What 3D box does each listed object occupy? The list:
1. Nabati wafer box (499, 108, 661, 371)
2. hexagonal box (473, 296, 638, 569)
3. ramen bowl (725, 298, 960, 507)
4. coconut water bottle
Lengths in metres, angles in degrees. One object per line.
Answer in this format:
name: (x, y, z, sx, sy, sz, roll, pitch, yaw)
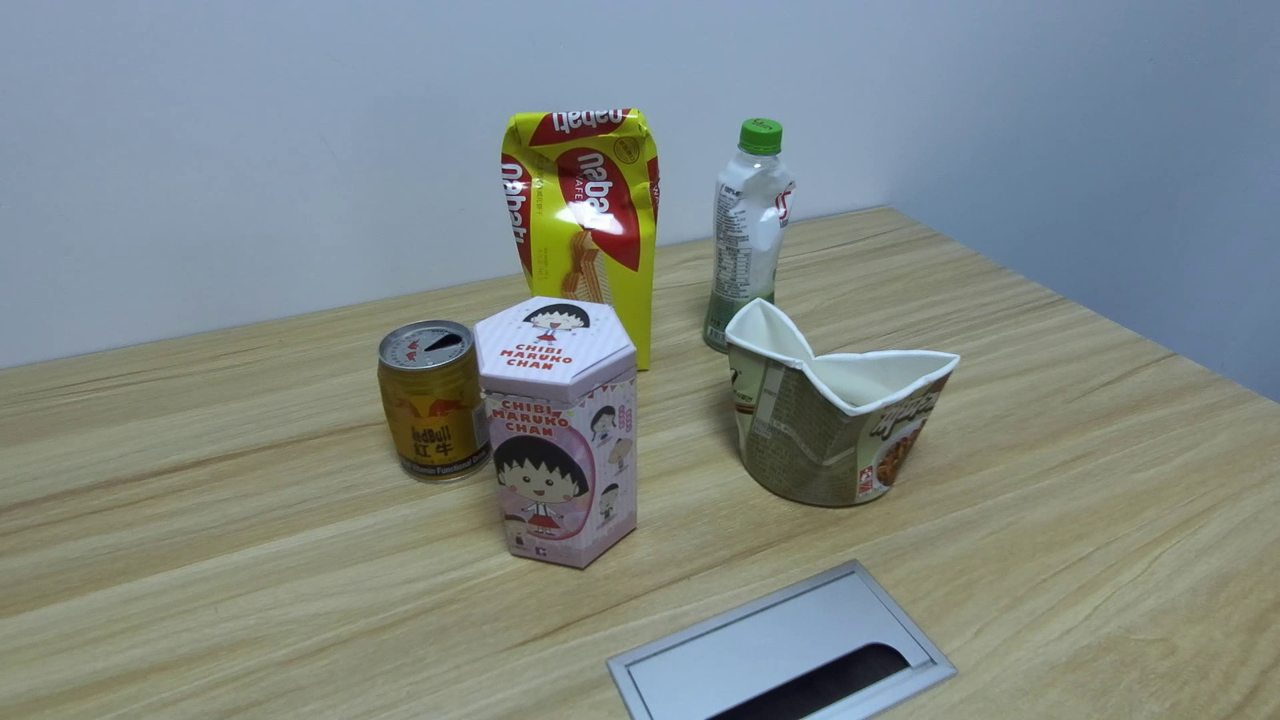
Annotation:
Nabati wafer box: (-0.040, -0.082, 0.537, 0.113, 0.205, 0.042, -5, 33, -5)
hexagonal box: (-0.046, 0.044, 0.410, 0.091, 0.136, 0.084, 7, 33, 11)
ramen bowl: (0.119, 0.024, 0.474, 0.112, 0.093, 0.127, -25, 42, -32)
coconut water bottle: (0.088, -0.096, 0.569, 0.069, 0.187, 0.069, 2, 31, -1)
